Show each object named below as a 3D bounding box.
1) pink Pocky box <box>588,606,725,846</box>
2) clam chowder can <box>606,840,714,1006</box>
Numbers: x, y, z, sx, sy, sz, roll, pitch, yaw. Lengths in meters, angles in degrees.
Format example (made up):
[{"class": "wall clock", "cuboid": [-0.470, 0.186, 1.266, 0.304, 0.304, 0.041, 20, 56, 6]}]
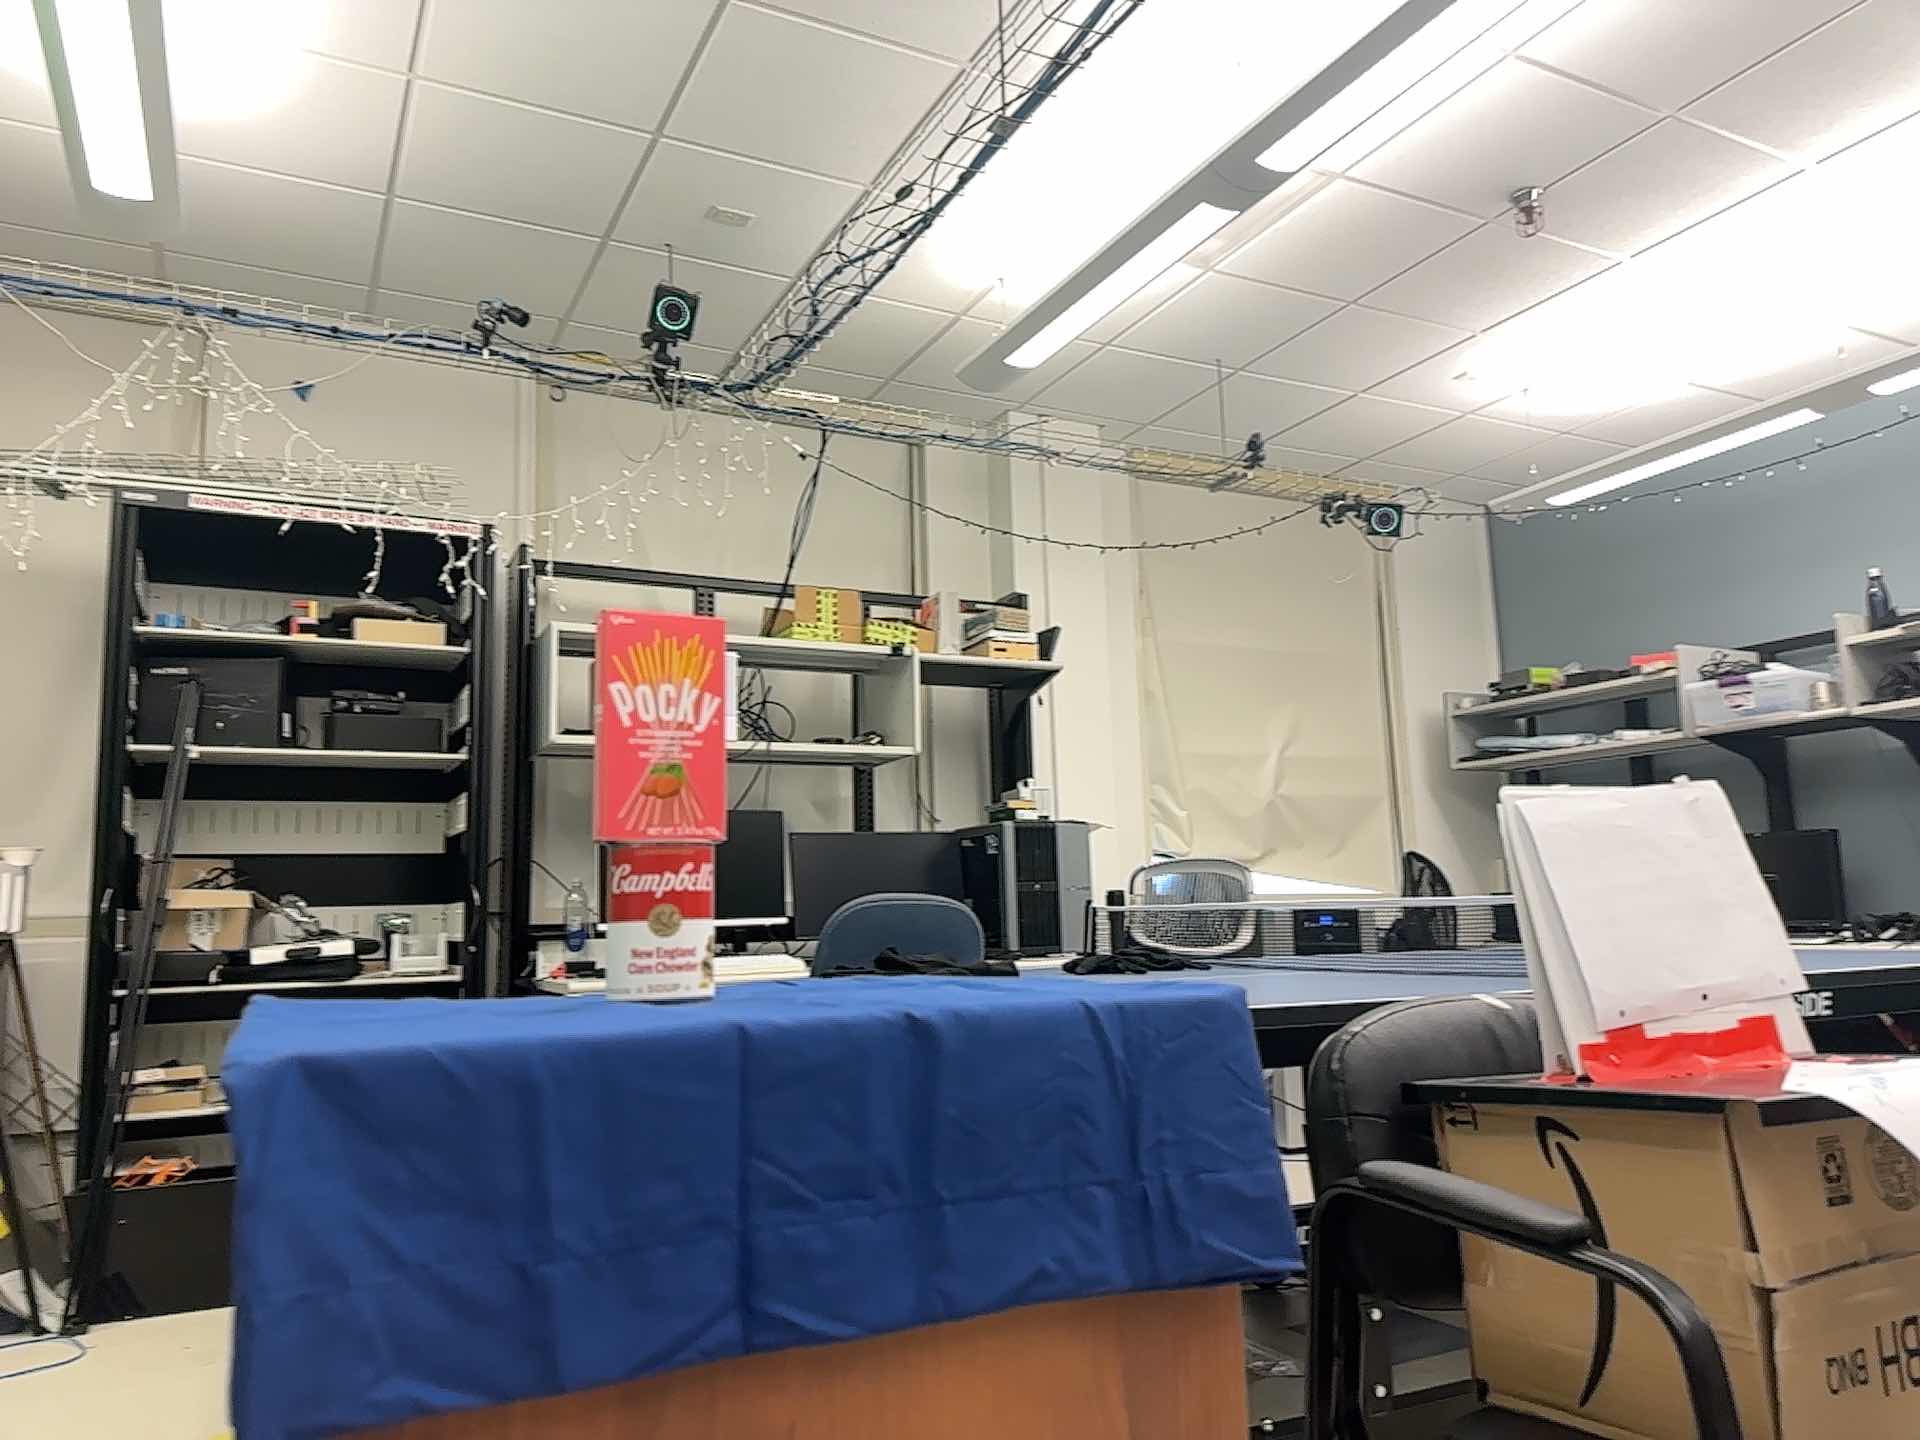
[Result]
[{"class": "pink Pocky box", "cuboid": [-0.199, 0.004, 0.881, 0.084, 0.155, 0.029, 1, -8, -22]}, {"class": "clam chowder can", "cuboid": [-0.194, 0.131, 0.868, 0.068, 0.102, 0.068, -2, -8, 0]}]
